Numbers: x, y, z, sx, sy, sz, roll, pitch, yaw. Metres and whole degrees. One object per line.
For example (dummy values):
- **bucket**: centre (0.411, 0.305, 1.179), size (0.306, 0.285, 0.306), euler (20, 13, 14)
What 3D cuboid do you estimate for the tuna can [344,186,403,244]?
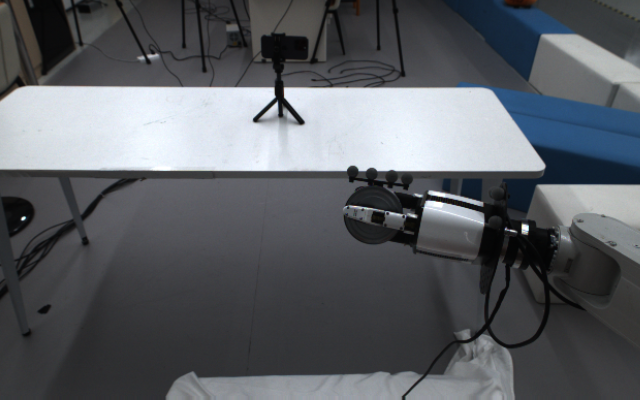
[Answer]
- **tuna can**: centre (0.079, 0.018, 0.708), size (0.085, 0.085, 0.034), euler (11, 1, 13)
